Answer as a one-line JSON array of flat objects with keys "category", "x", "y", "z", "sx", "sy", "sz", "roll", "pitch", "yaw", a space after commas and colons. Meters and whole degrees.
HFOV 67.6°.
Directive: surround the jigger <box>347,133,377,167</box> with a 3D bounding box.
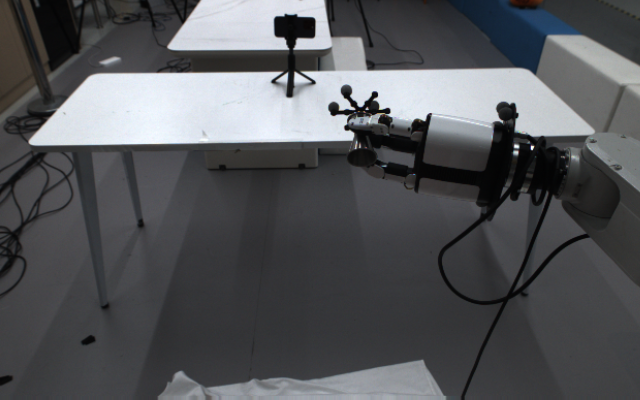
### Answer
[{"category": "jigger", "x": 0.059, "y": -0.091, "z": 0.689, "sx": 0.043, "sy": 0.043, "sz": 0.071, "roll": 2, "pitch": 59, "yaw": -1}]
